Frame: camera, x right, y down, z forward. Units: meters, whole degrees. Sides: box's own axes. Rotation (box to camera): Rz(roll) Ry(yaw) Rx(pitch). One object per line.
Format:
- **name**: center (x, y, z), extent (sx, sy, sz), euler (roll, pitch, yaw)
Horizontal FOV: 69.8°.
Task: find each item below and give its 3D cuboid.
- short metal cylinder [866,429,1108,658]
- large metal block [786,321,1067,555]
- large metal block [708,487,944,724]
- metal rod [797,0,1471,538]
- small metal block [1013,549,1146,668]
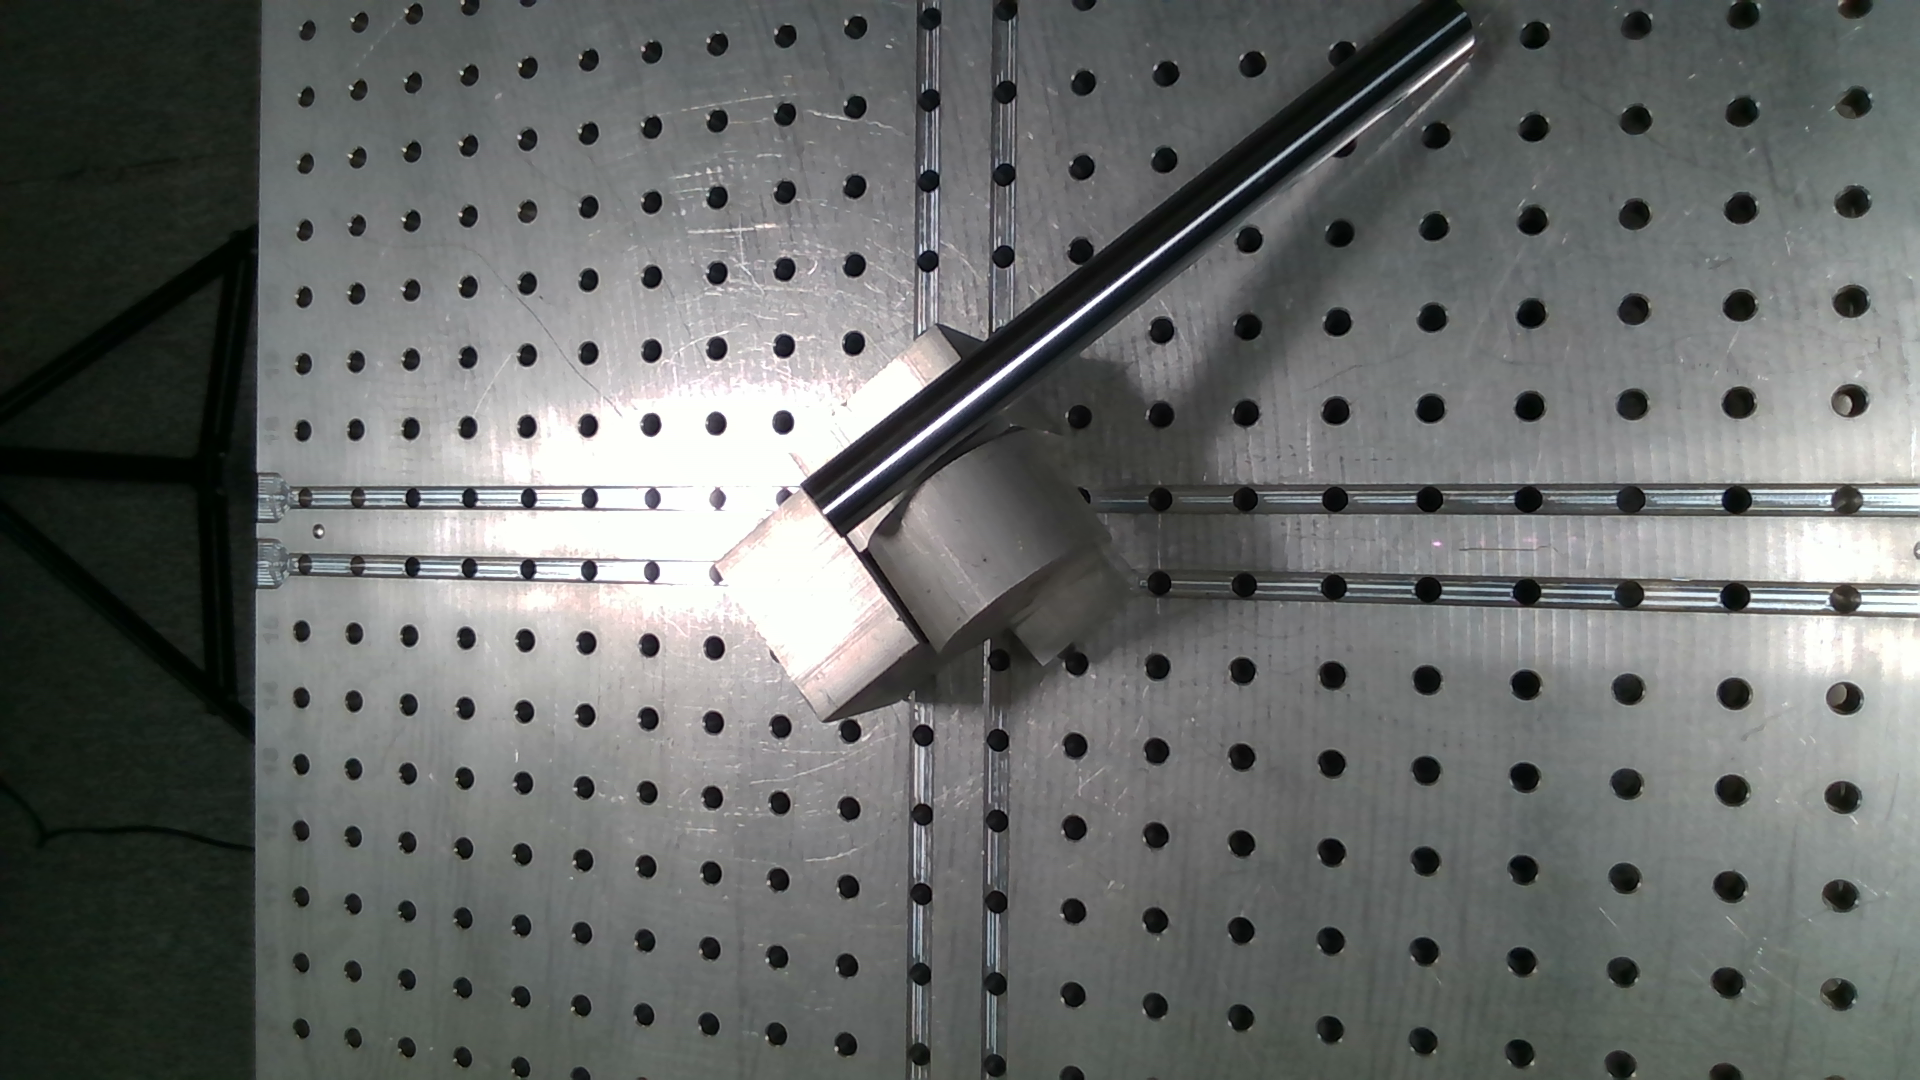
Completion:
- **short metal cylinder**: center (0.011, 0.002, 0.528), extent (0.080, 0.080, 0.050), euler (-38, 78, 16)
- **large metal block**: center (-0.011, -0.038, 0.563), extent (0.080, 0.080, 0.050), euler (-39, 77, 16)
- **large metal block**: center (-0.046, 0.025, 0.574), extent (0.050, 0.080, 0.080), euler (-39, 78, 16)
- **metal rod**: center (0.067, -0.103, 0.507), extent (0.300, 0.025, 0.025), euler (-38, 77, -5)
- **small metal block**: center (0.040, 0.017, 0.574), extent (0.050, 0.025, 0.050), euler (-44, 77, 15)
